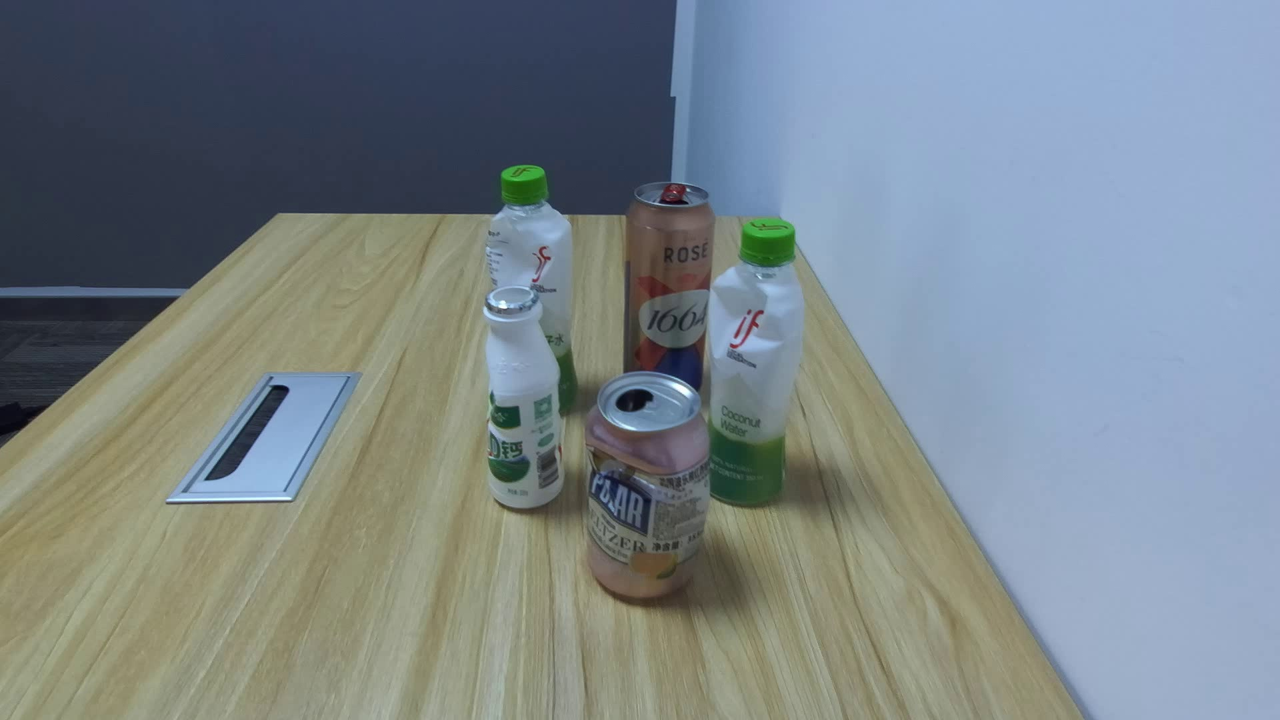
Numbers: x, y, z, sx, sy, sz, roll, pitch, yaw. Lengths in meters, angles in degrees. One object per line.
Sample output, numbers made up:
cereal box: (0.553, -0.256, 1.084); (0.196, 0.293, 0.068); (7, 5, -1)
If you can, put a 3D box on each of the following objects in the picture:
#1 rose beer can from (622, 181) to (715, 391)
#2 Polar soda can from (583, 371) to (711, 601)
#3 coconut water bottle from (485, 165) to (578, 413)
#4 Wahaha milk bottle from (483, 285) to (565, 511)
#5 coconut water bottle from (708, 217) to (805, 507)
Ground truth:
rose beer can: (0.023, -0.047, 0.555); (0.068, 0.169, 0.068); (2, 29, -1)
Polar soda can: (0.003, 0.072, 0.402); (0.067, 0.122, 0.074); (1, 32, -3)
coconut water bottle: (-0.079, -0.049, 0.529); (0.069, 0.187, 0.069); (2, 29, -1)
Wahaha milk bottle: (-0.077, 0.025, 0.449); (0.056, 0.148, 0.056); (1, 32, 0)
coconut water bottle: (0.072, 0.003, 0.448); (0.067, 0.187, 0.067); (1, 30, 0)
